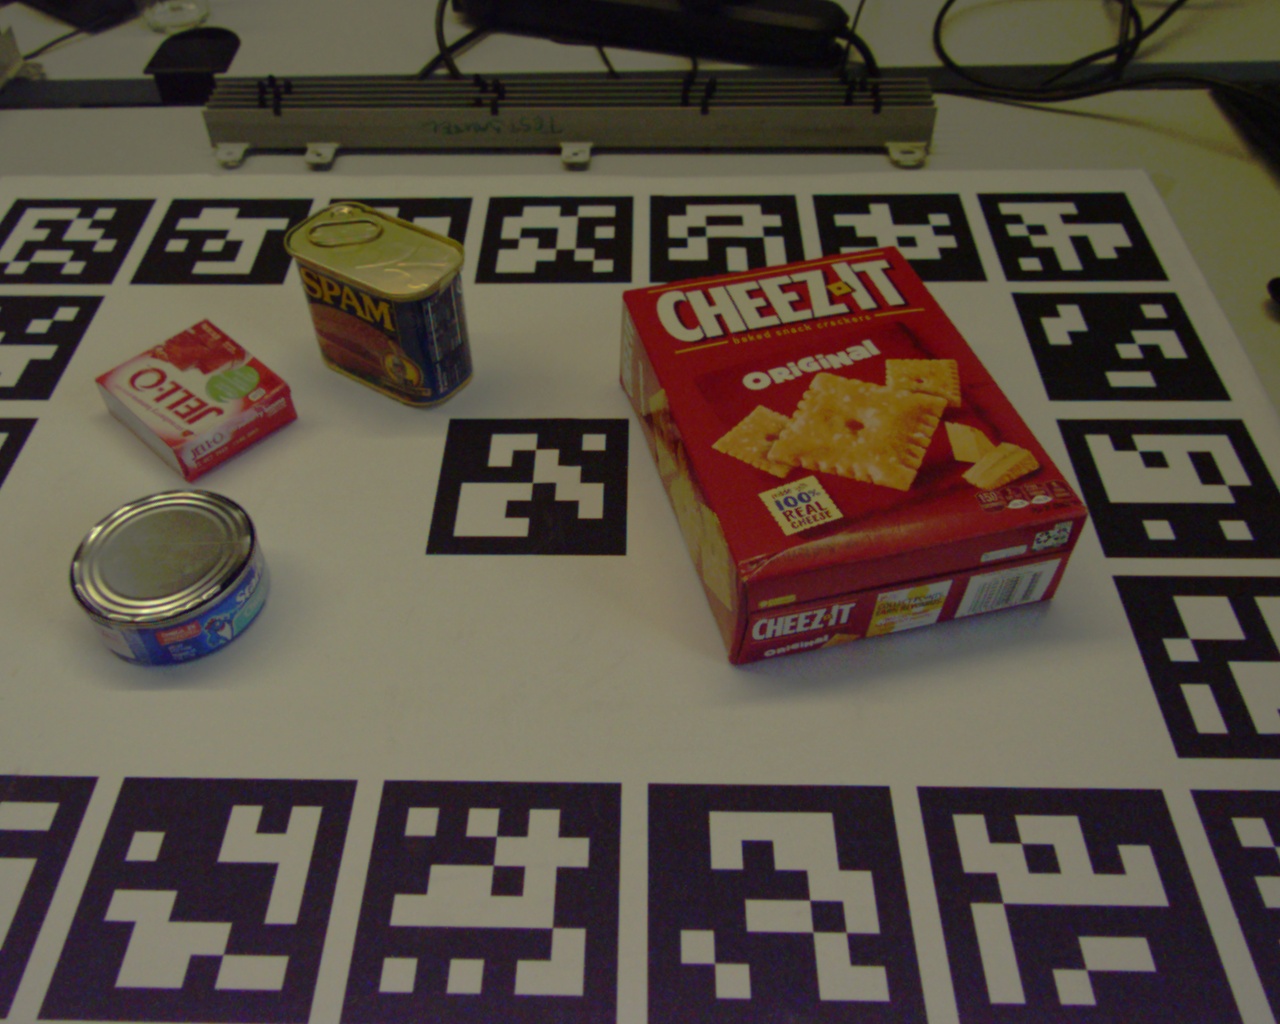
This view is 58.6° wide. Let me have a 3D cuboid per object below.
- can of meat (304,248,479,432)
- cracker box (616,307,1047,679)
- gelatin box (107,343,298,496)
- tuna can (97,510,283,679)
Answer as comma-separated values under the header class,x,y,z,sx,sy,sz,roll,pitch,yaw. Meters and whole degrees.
class,x,y,z,sx,sy,sz,roll,pitch,yaw
can of meat,-0.150,-0.105,0.704,0.103,0.083,0.057,22,50,22
cracker box,0.092,-0.024,0.629,0.163,0.072,0.215,-11,45,-12
gelatin box,-0.262,-0.058,0.688,0.090,0.030,0.072,35,52,26
tuna can,-0.229,0.042,0.584,0.086,0.033,0.086,-1,49,1
